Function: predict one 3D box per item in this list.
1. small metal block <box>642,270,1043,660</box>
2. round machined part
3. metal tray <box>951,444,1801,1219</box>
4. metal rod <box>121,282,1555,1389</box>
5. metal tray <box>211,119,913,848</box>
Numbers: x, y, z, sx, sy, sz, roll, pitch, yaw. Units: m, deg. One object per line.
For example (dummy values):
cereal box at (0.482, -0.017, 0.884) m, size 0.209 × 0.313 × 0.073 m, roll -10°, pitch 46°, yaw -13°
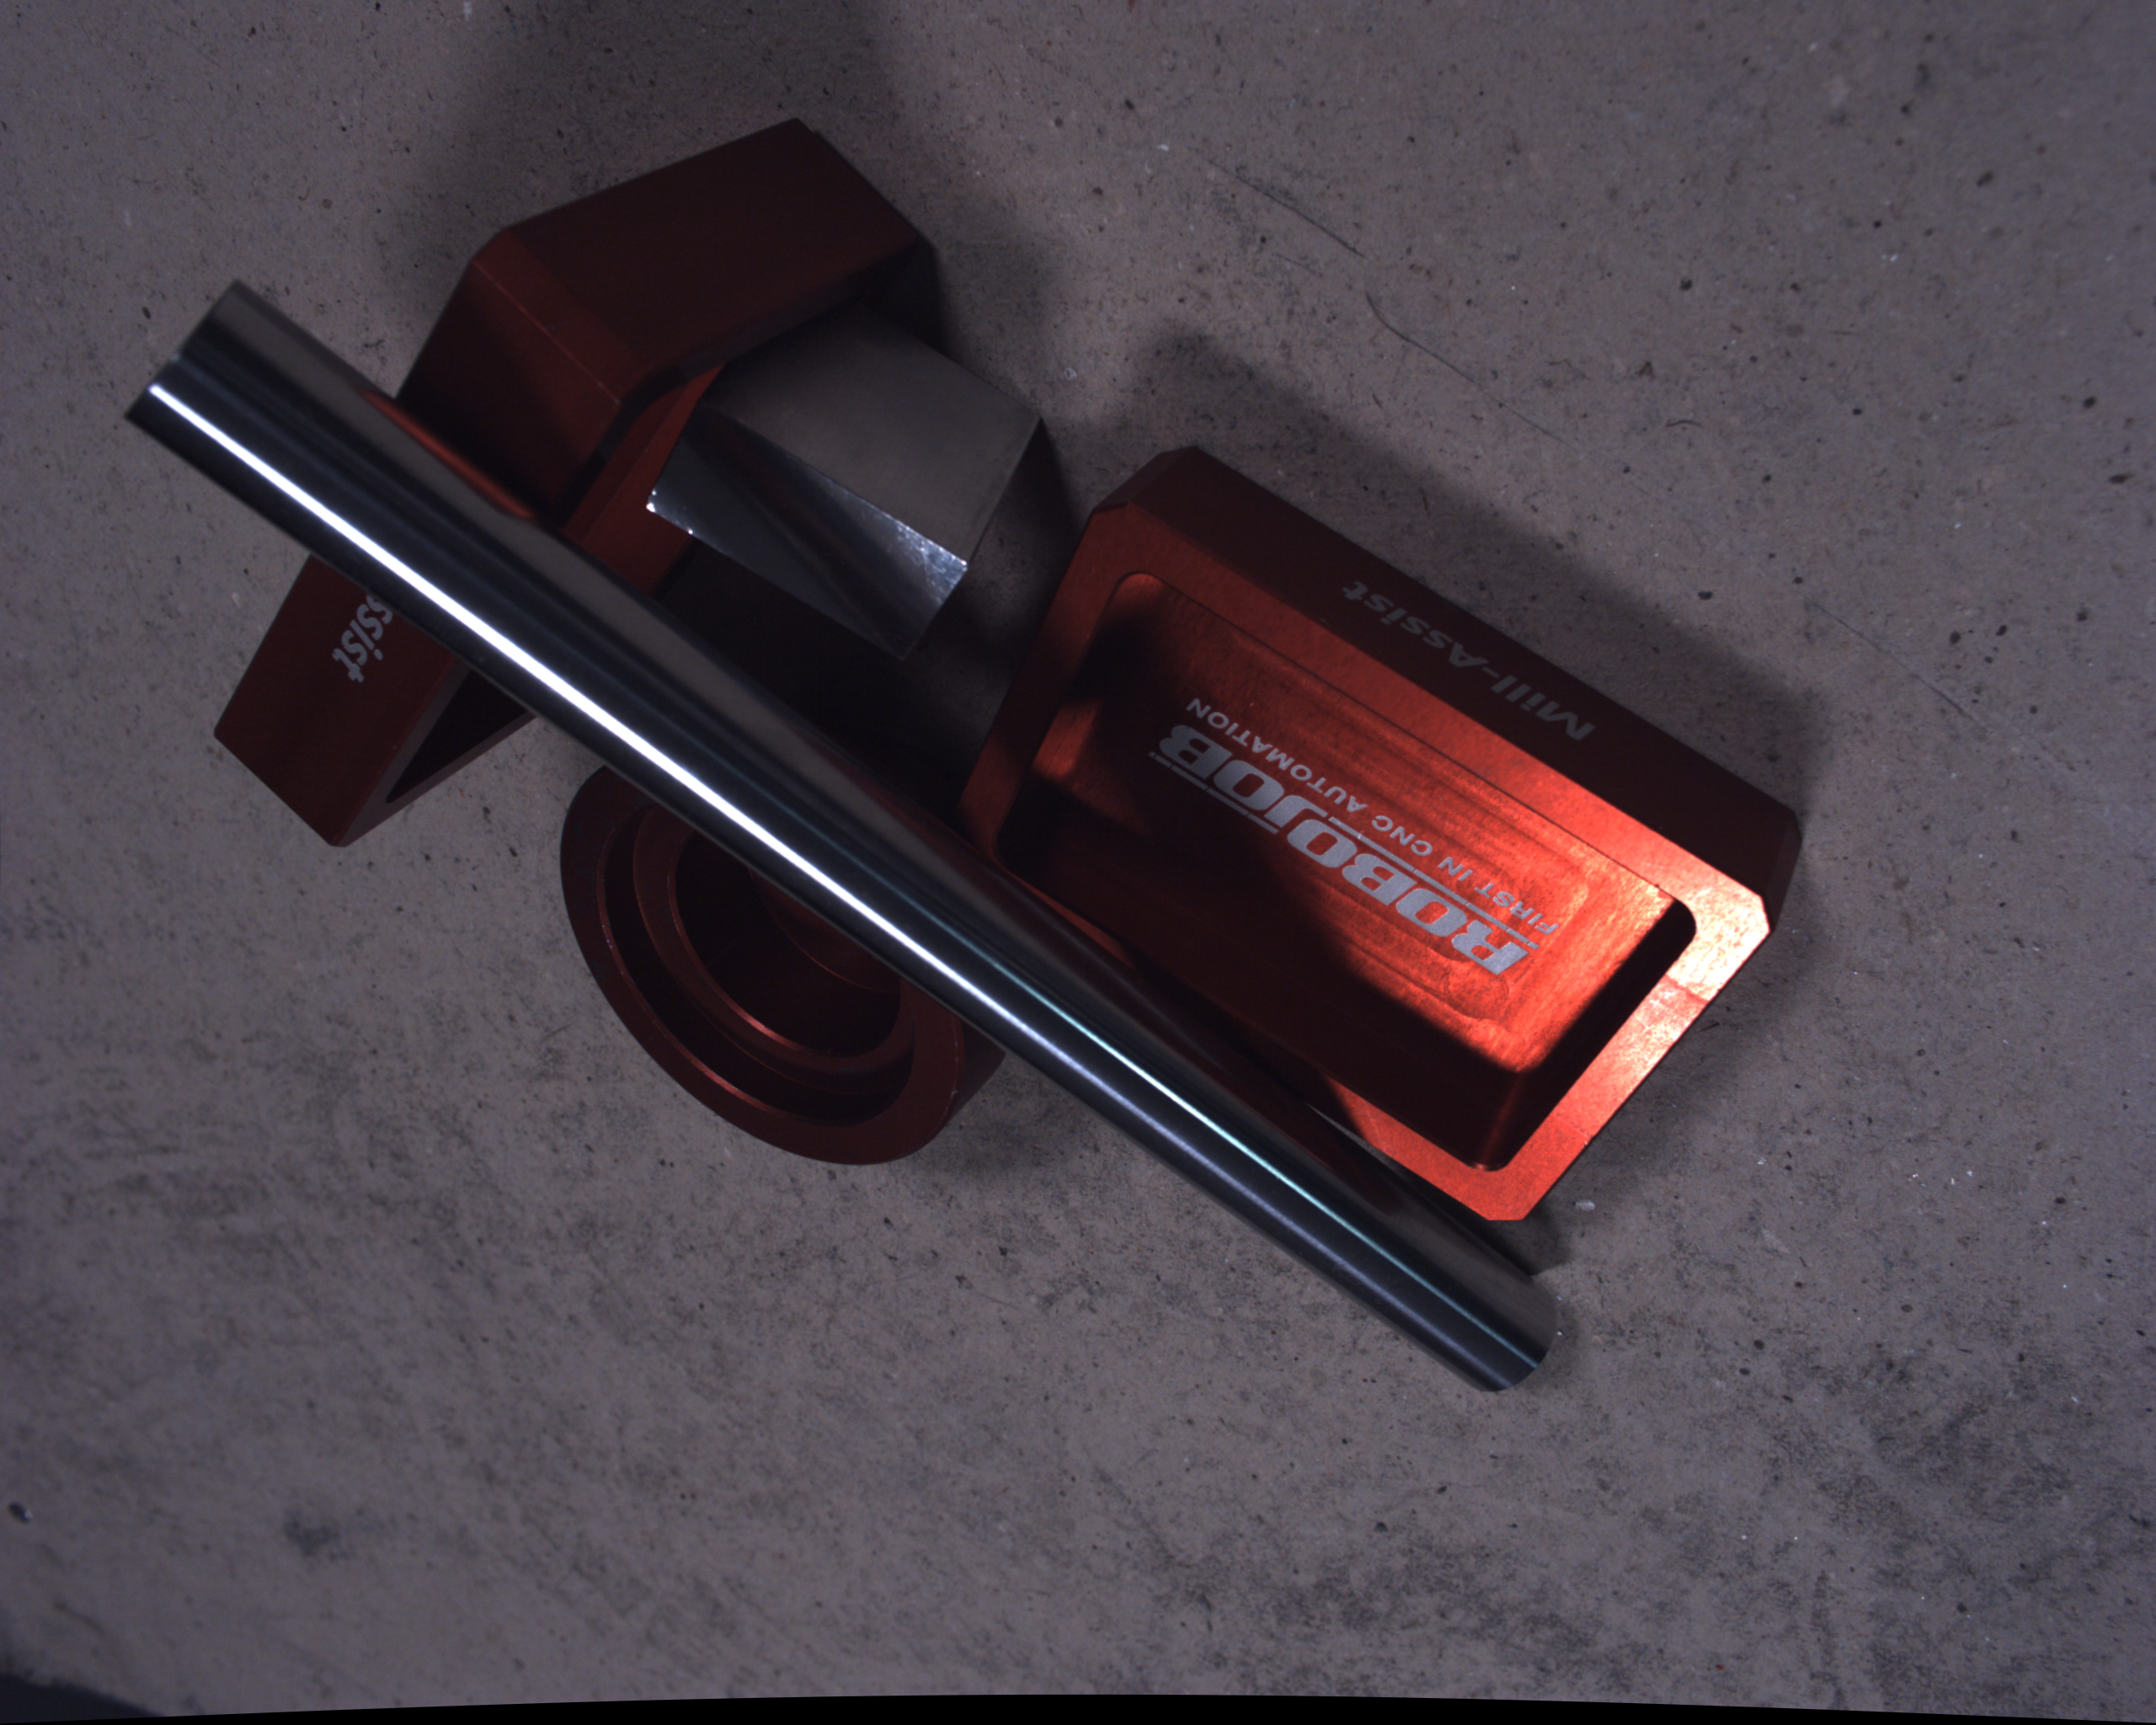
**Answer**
small metal block at (-0.039, -0.070, 0.362) m, size 0.050 × 0.050 × 0.025 m, roll 31°, pitch 132°, yaw -10°
round machined part at (-0.054, 0.010, 0.426) m, size 0.098 × 0.042 × 0.097 m, roll 18°, pitch 131°, yaw 23°
metal tray at (0.048, -0.004, 0.376) m, size 0.130 × 0.030 × 0.089 m, roll 33°, pitch 129°, yaw 6°
metal rod at (-0.019, 0.013, 0.356) m, size 0.301 × 0.025 × 0.025 m, roll 38°, pitch 133°, yaw -27°
metal tray at (-0.092, -0.066, 0.371) m, size 0.030 × 0.090 × 0.129 m, roll 45°, pitch 129°, yaw -3°
